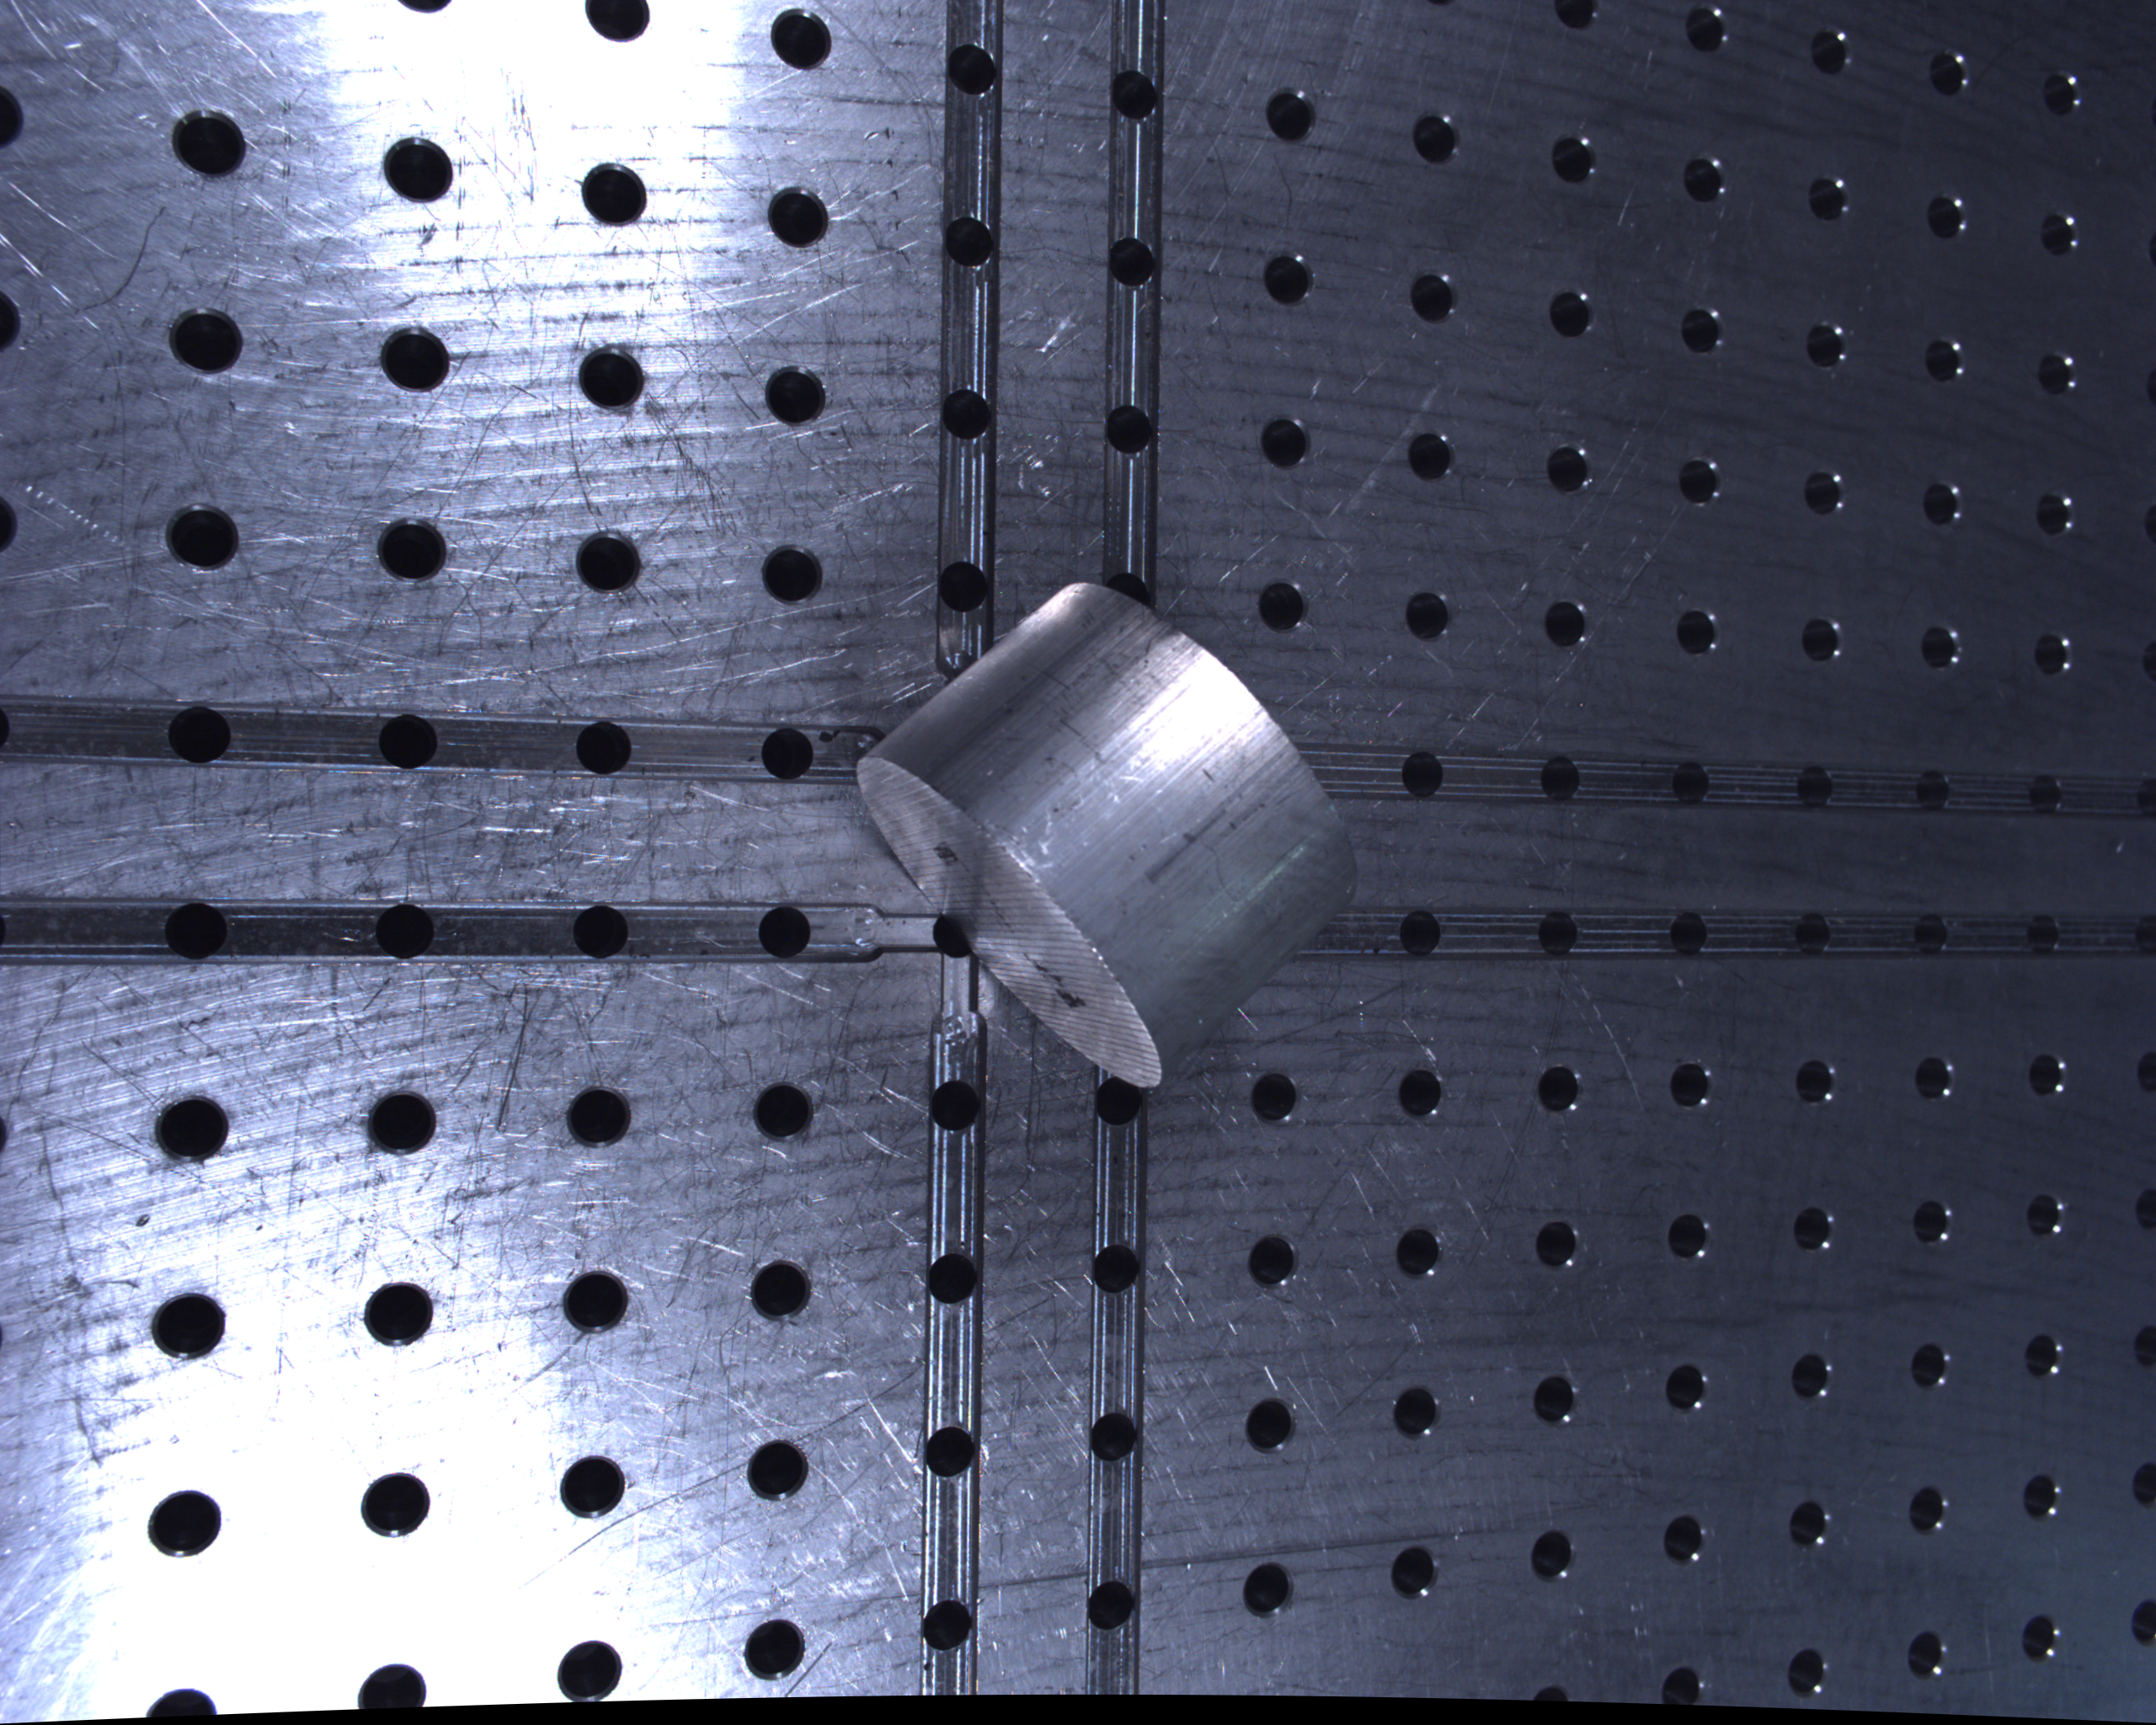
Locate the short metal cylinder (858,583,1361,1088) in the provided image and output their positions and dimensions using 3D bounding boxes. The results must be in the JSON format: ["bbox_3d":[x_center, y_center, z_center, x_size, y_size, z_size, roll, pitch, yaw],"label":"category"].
[{"bbox_3d":[0.005,-0.005,0.386,0.050,0.080,0.080,-42,104,-15],"label":"short metal cylinder"}]
